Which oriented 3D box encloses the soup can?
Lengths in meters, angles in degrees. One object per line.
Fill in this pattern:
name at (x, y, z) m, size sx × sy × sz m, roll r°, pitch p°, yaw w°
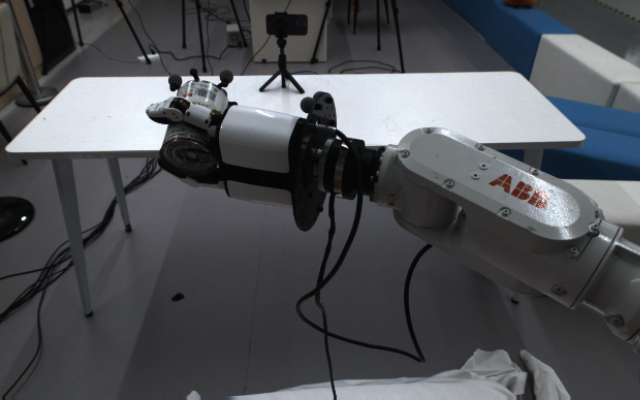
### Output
soup can at (-0.153, -0.089, 0.596) m, size 0.067 × 0.067 × 0.101 m, roll 3°, pitch 57°, yaw 1°
